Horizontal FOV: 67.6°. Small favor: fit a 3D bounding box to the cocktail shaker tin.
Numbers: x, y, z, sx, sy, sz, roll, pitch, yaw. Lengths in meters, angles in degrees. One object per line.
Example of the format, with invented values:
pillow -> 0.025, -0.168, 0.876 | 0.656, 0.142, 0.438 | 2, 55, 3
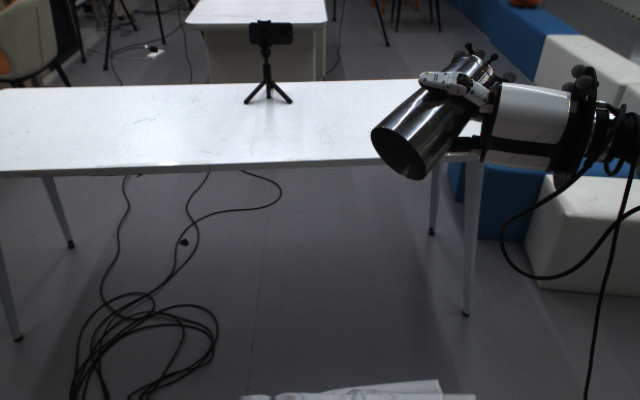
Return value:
cocktail shaker tin -> 0.159, -0.121, 0.648 | 0.170, 0.093, 0.093 | -44, 51, -15
